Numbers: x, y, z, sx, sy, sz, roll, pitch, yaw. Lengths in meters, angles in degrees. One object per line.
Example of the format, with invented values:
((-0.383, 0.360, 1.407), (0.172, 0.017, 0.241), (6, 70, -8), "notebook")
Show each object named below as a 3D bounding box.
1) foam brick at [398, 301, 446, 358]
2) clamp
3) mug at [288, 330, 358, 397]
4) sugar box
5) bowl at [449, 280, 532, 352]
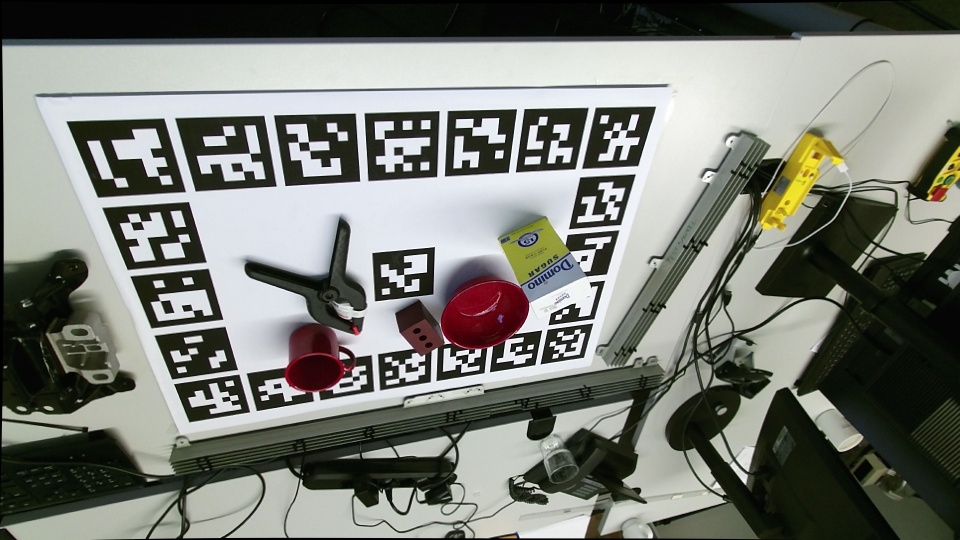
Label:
((-0.101, 0.105, 0.949), (0.053, 0.051, 0.078), (-29, 127, 1), "foam brick")
((-0.226, 0.039, 0.852), (0.166, 0.036, 0.203), (-27, 128, -2), "clamp")
((-0.259, 0.158, 0.901), (0.118, 0.081, 0.093), (18, 116, -25), "mug")
((0.110, -0.011, 0.854), (0.093, 0.176, 0.045), (-26, 126, 1), "sugar box")
((0.015, 0.074, 0.957), (0.162, 0.055, 0.161), (-9, 126, -12), "bowl")
